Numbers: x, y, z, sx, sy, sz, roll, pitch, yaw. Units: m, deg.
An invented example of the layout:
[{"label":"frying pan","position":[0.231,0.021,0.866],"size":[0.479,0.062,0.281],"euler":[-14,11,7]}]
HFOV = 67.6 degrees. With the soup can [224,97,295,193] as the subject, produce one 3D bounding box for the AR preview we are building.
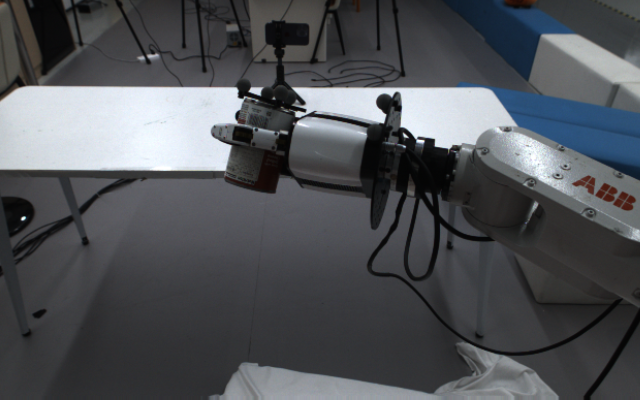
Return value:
[{"label":"soup can","position":[-0.073,-0.065,0.592],"size":[0.067,0.101,0.067],"euler":[15,7,-2]}]
